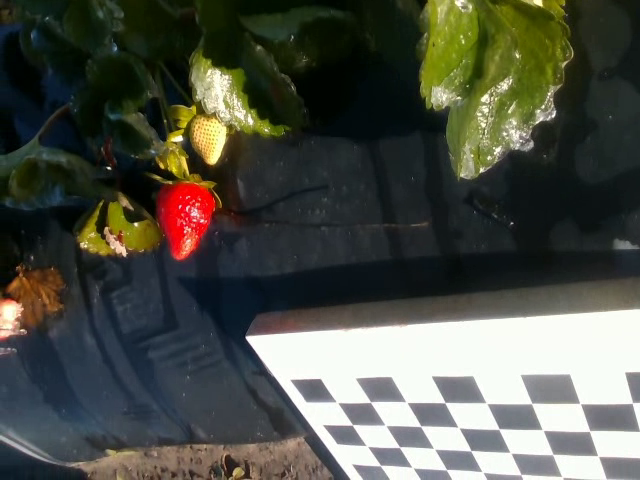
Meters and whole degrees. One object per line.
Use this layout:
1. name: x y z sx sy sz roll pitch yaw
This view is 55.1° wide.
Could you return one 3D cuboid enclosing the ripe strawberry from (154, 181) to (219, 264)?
1. ripe strawberry: -0.065 -0.006 0.290 0.040 0.039 0.039 26 -25 -38
